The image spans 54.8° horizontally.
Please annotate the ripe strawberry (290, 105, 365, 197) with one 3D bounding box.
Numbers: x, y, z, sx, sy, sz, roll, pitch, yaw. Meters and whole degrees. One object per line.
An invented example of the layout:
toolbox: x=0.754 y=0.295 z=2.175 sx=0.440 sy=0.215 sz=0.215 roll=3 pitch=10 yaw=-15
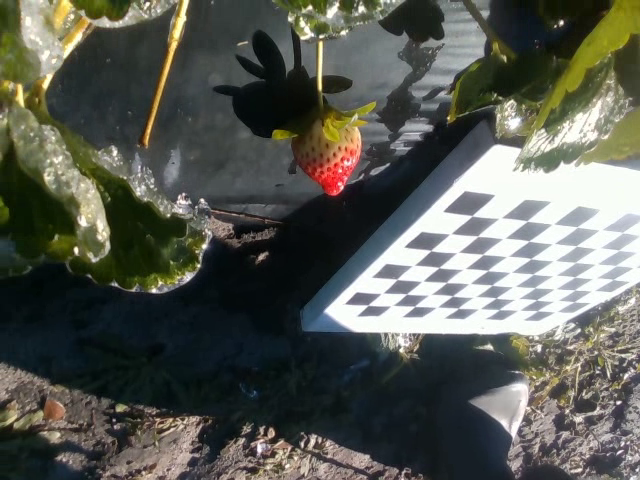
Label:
ripe strawberry: x=0.006 y=-0.042 z=0.303 sx=0.039 sy=0.053 sz=0.041 roll=-6 pitch=45 yaw=-7
